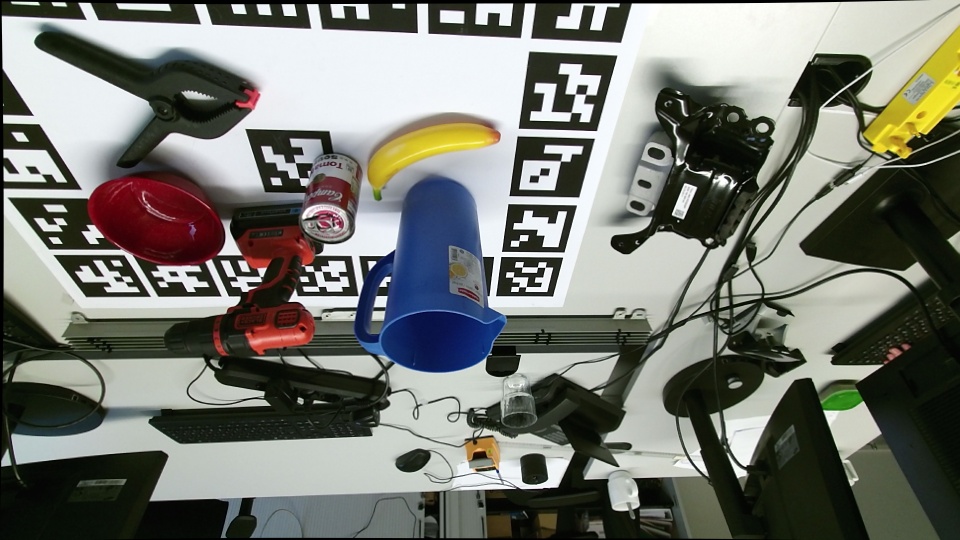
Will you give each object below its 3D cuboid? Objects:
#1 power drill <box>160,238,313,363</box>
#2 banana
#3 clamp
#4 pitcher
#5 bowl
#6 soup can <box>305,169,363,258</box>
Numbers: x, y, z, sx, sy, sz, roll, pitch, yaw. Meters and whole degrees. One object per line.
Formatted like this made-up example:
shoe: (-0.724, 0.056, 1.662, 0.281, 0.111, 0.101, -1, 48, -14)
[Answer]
power drill: (-0.309, 0.040, 0.717, 0.185, 0.186, 0.057, -4, 136, -1)
banana: (-0.065, -0.132, 0.696, 0.198, 0.038, 0.074, -17, 143, 15)
clamp: (-0.353, -0.171, 0.617, 0.203, 0.036, 0.165, -2, 132, -3)
pitcher: (-0.068, 0.020, 0.705, 0.189, 0.241, 0.133, -17, 138, 13)
bowl: (-0.420, -0.059, 0.724, 0.162, 0.055, 0.162, -3, 135, -3)
soup can: (-0.190, -0.073, 0.699, 0.068, 0.101, 0.068, -3, 145, -2)
